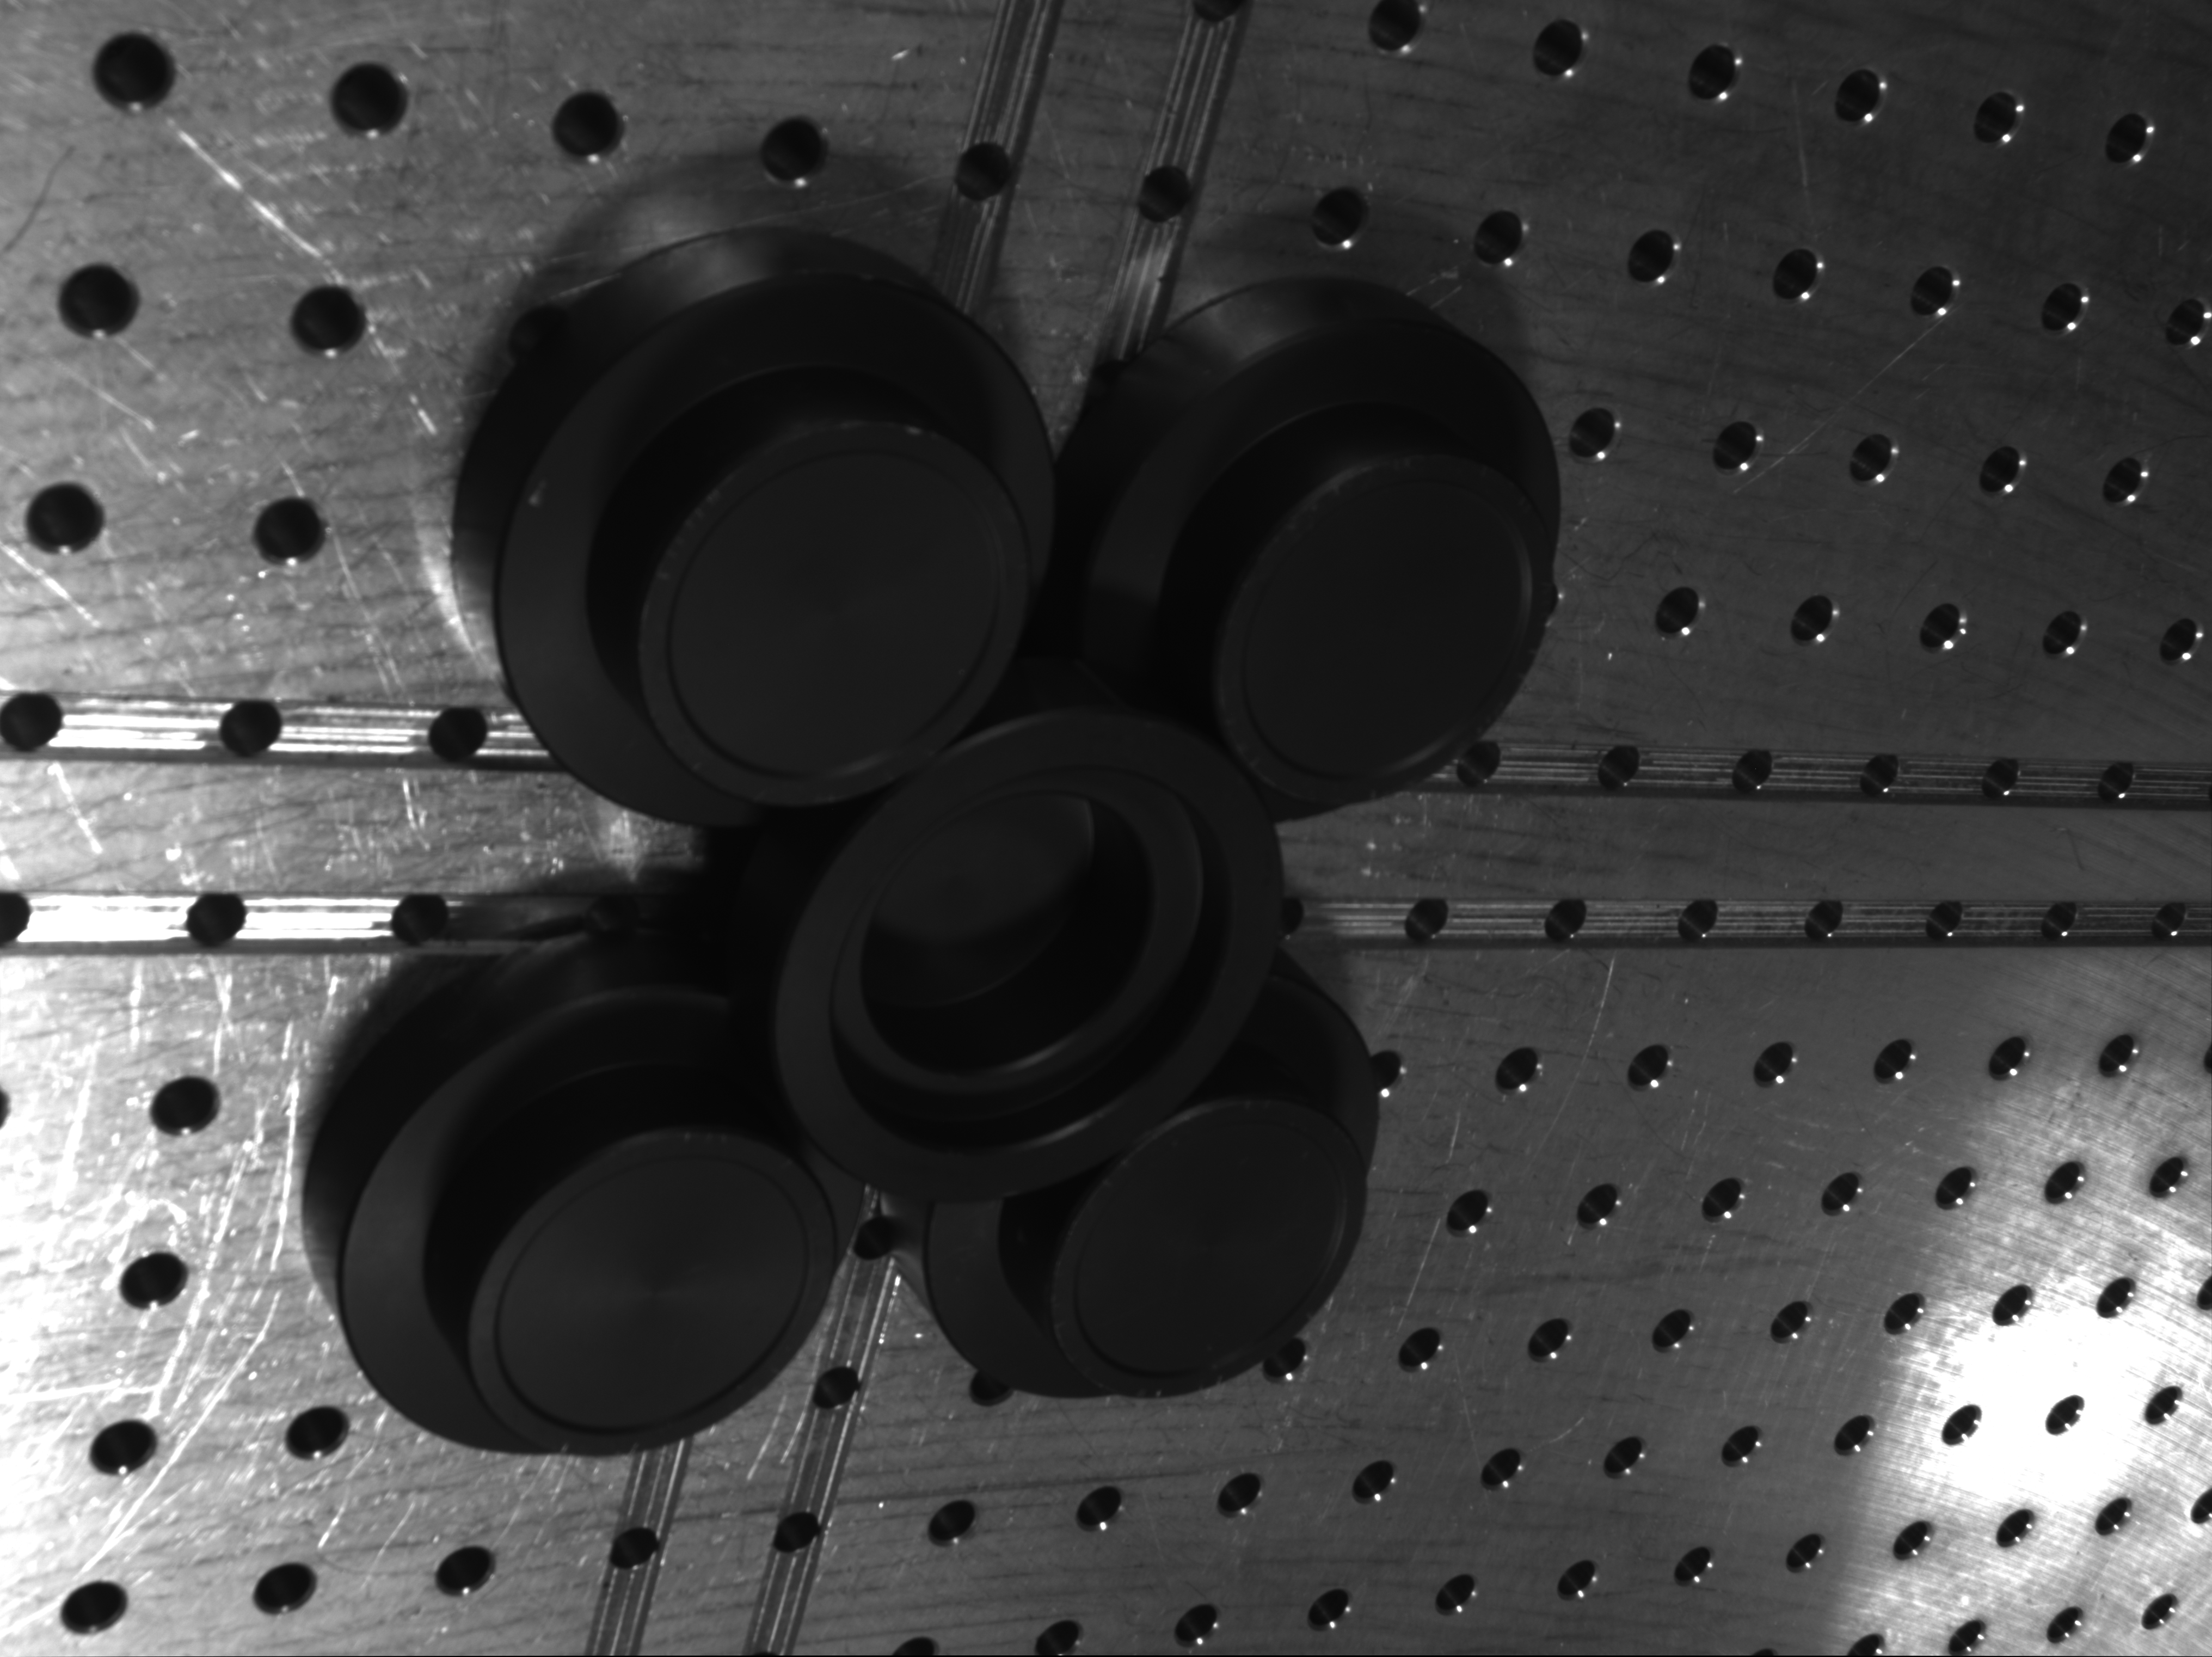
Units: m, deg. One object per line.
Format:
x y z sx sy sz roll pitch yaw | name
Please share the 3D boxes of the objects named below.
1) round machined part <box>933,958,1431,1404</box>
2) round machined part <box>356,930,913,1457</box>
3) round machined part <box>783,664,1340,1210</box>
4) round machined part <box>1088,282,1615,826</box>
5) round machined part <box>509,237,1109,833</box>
0.020 0.070 0.697 0.098 0.042 0.098 -15 125 -22 | round machined part
-0.078 0.070 0.641 0.098 0.042 0.098 -15 125 -22 | round machined part
-0.011 0.015 0.643 0.098 0.042 0.098 -15 125 -22 | round machined part
0.049 -0.043 0.644 0.098 0.042 0.098 -15 125 -22 | round machined part
-0.043 -0.042 0.591 0.098 0.042 0.098 -15 125 -22 | round machined part
